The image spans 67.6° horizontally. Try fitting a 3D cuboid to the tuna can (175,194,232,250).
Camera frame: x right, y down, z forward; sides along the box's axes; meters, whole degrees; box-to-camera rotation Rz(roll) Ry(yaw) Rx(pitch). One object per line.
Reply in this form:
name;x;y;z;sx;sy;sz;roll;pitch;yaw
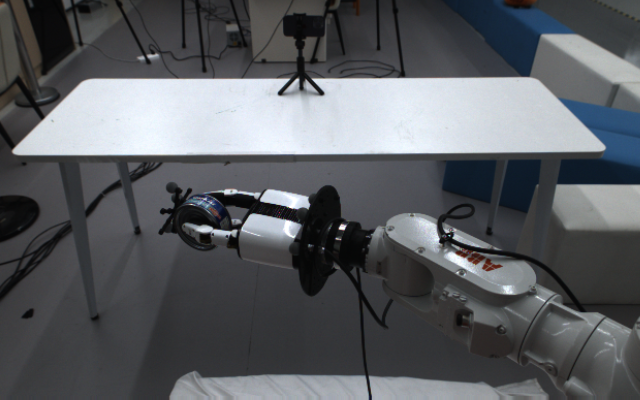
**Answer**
tuna can;-0.180;0.035;0.744;0.085;0.085;0.034;13;31;15
